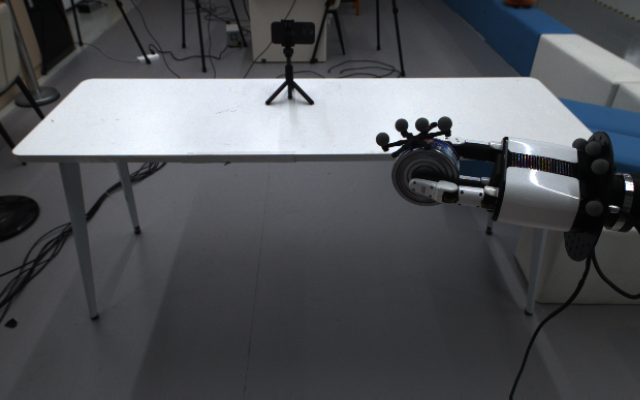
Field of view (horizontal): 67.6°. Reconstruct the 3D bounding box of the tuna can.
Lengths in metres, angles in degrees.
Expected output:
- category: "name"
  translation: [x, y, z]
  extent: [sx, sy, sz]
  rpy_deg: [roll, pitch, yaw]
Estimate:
- category: "tuna can"
  translation: [0.138, -0.037, 0.624]
  extent: [0.085, 0.085, 0.034]
  rpy_deg: [11, 34, 13]
